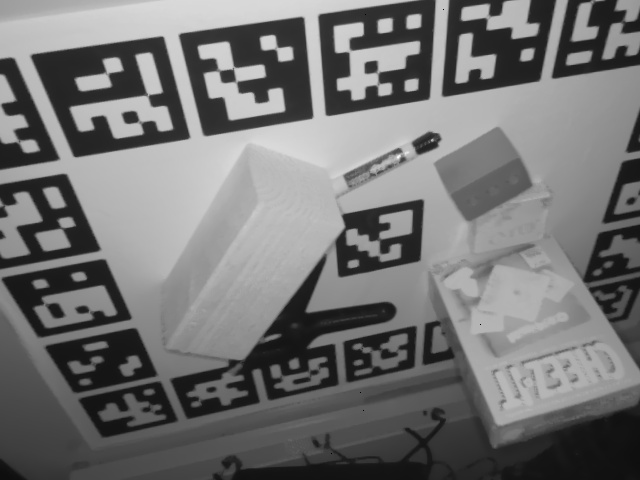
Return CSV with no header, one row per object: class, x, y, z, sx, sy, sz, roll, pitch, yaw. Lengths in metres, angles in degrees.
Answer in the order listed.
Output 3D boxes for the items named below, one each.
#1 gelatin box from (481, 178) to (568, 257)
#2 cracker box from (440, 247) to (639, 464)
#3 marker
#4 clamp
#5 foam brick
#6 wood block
gelatin box,0.226,-0.025,0.769,0.090,0.030,0.073,-12,129,-6
cracker box,0.239,0.116,0.757,0.165,0.214,0.071,-12,132,-2
marker,0.088,-0.085,0.682,0.121,0.020,0.019,-26,129,6
clamp,-0.013,0.105,0.801,0.201,0.037,0.166,-35,128,13
foam brick,0.181,-0.070,0.701,0.077,0.051,0.053,-30,128,10
wood block,-0.059,0.015,0.683,0.091,0.091,0.203,17,125,-29
